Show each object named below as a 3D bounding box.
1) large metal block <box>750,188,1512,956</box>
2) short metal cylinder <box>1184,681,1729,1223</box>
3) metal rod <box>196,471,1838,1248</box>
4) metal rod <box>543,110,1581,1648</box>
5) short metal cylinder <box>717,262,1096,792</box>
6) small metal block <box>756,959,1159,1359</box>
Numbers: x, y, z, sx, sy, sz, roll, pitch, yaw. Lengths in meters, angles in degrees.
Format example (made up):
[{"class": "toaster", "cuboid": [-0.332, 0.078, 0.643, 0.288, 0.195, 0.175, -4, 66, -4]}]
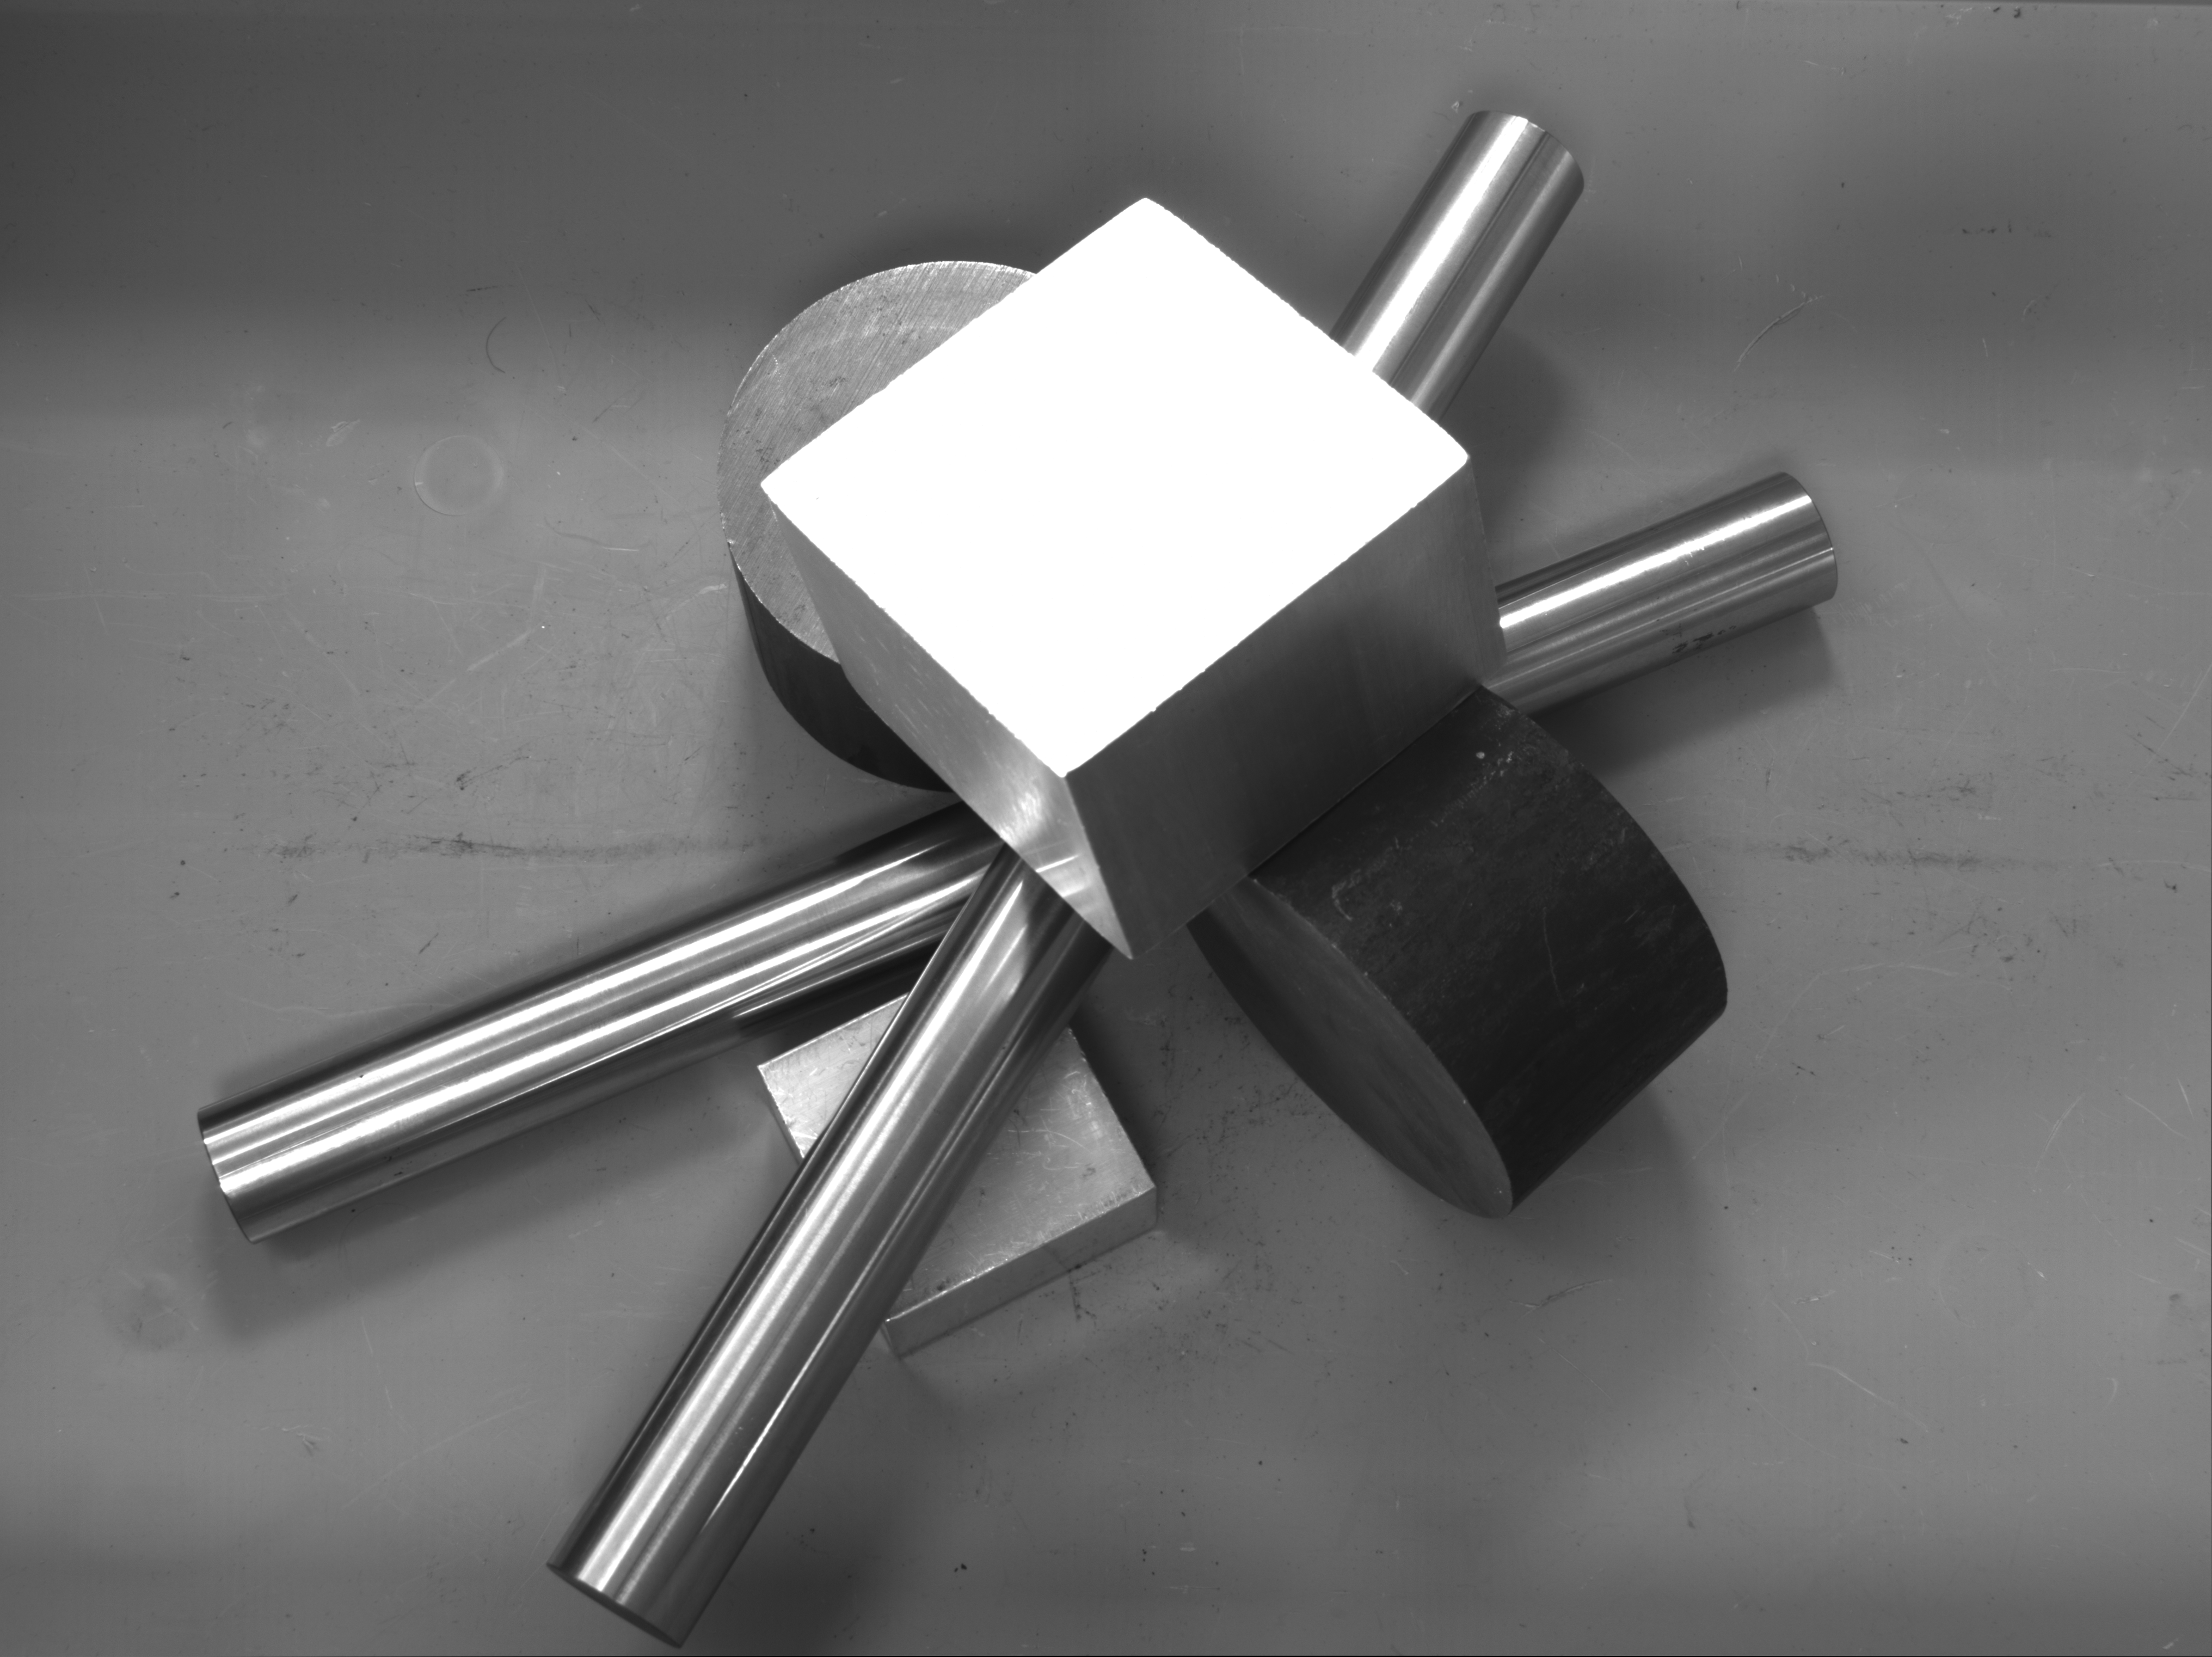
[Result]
[{"class": "large metal block", "cuboid": [0.005, -0.041, 0.579, 0.080, 0.050, 0.080, -38, 57, -12]}, {"class": "short metal cylinder", "cuboid": [0.056, 0.019, 0.608, 0.050, 0.080, 0.080, -41, 75, -13]}, {"class": "metal rod", "cuboid": [-0.012, 0.003, 0.643, 0.300, 0.025, 0.025, -22, 71, -8]}, {"class": "metal rod", "cuboid": [-0.001, 0.000, 0.618, 0.025, 0.025, 0.300, 29, 72, 10]}, {"class": "short metal cylinder", "cuboid": [-0.026, -0.053, 0.650, 0.080, 0.050, 0.080, 0, 70, 0]}, {"class": "small metal block", "cuboid": [-0.025, 0.055, 0.624, 0.050, 0.025, 0.050, -26, 72, -9]}]
